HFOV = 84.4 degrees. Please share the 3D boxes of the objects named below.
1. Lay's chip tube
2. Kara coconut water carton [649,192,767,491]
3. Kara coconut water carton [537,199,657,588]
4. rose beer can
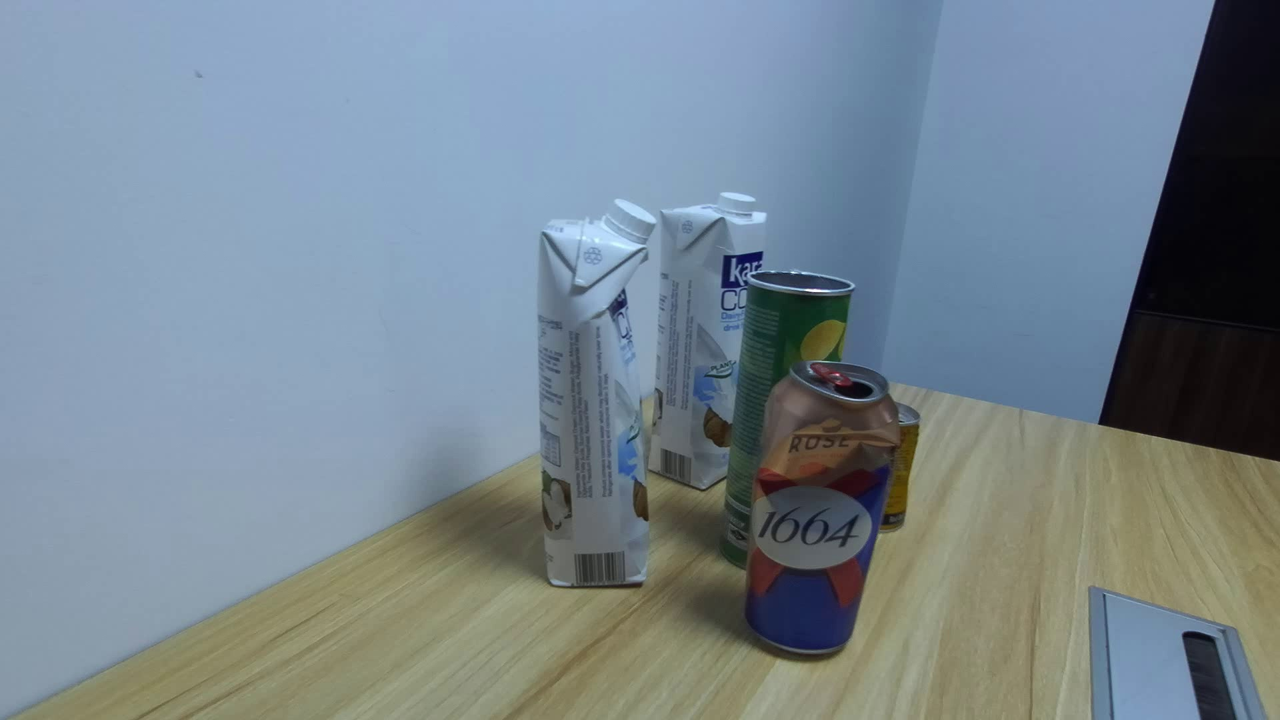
[{"bbox_3d":[0.099,0.041,0.489,0.071,0.202,0.071,3,18,-1],"label":"Lay's chip tube"},{"bbox_3d":[0.057,-0.016,0.603,0.075,0.245,0.077,15,20,39],"label":"Kara coconut water carton"},{"bbox_3d":[-0.025,0.020,0.459,0.071,0.244,0.099,1,20,0],"label":"Kara coconut water carton"},{"bbox_3d":[0.101,0.087,0.407,0.076,0.167,0.065,9,21,7],"label":"rose beer can"}]
